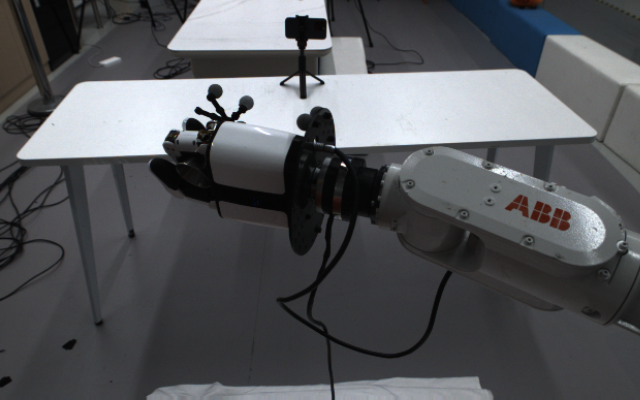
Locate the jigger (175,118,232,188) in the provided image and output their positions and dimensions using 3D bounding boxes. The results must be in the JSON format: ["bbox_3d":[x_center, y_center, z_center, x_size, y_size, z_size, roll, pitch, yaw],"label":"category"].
[{"bbox_3d":[-0.128,-0.055,0.554,0.043,0.043,0.071,15,58,18],"label":"jigger"}]
